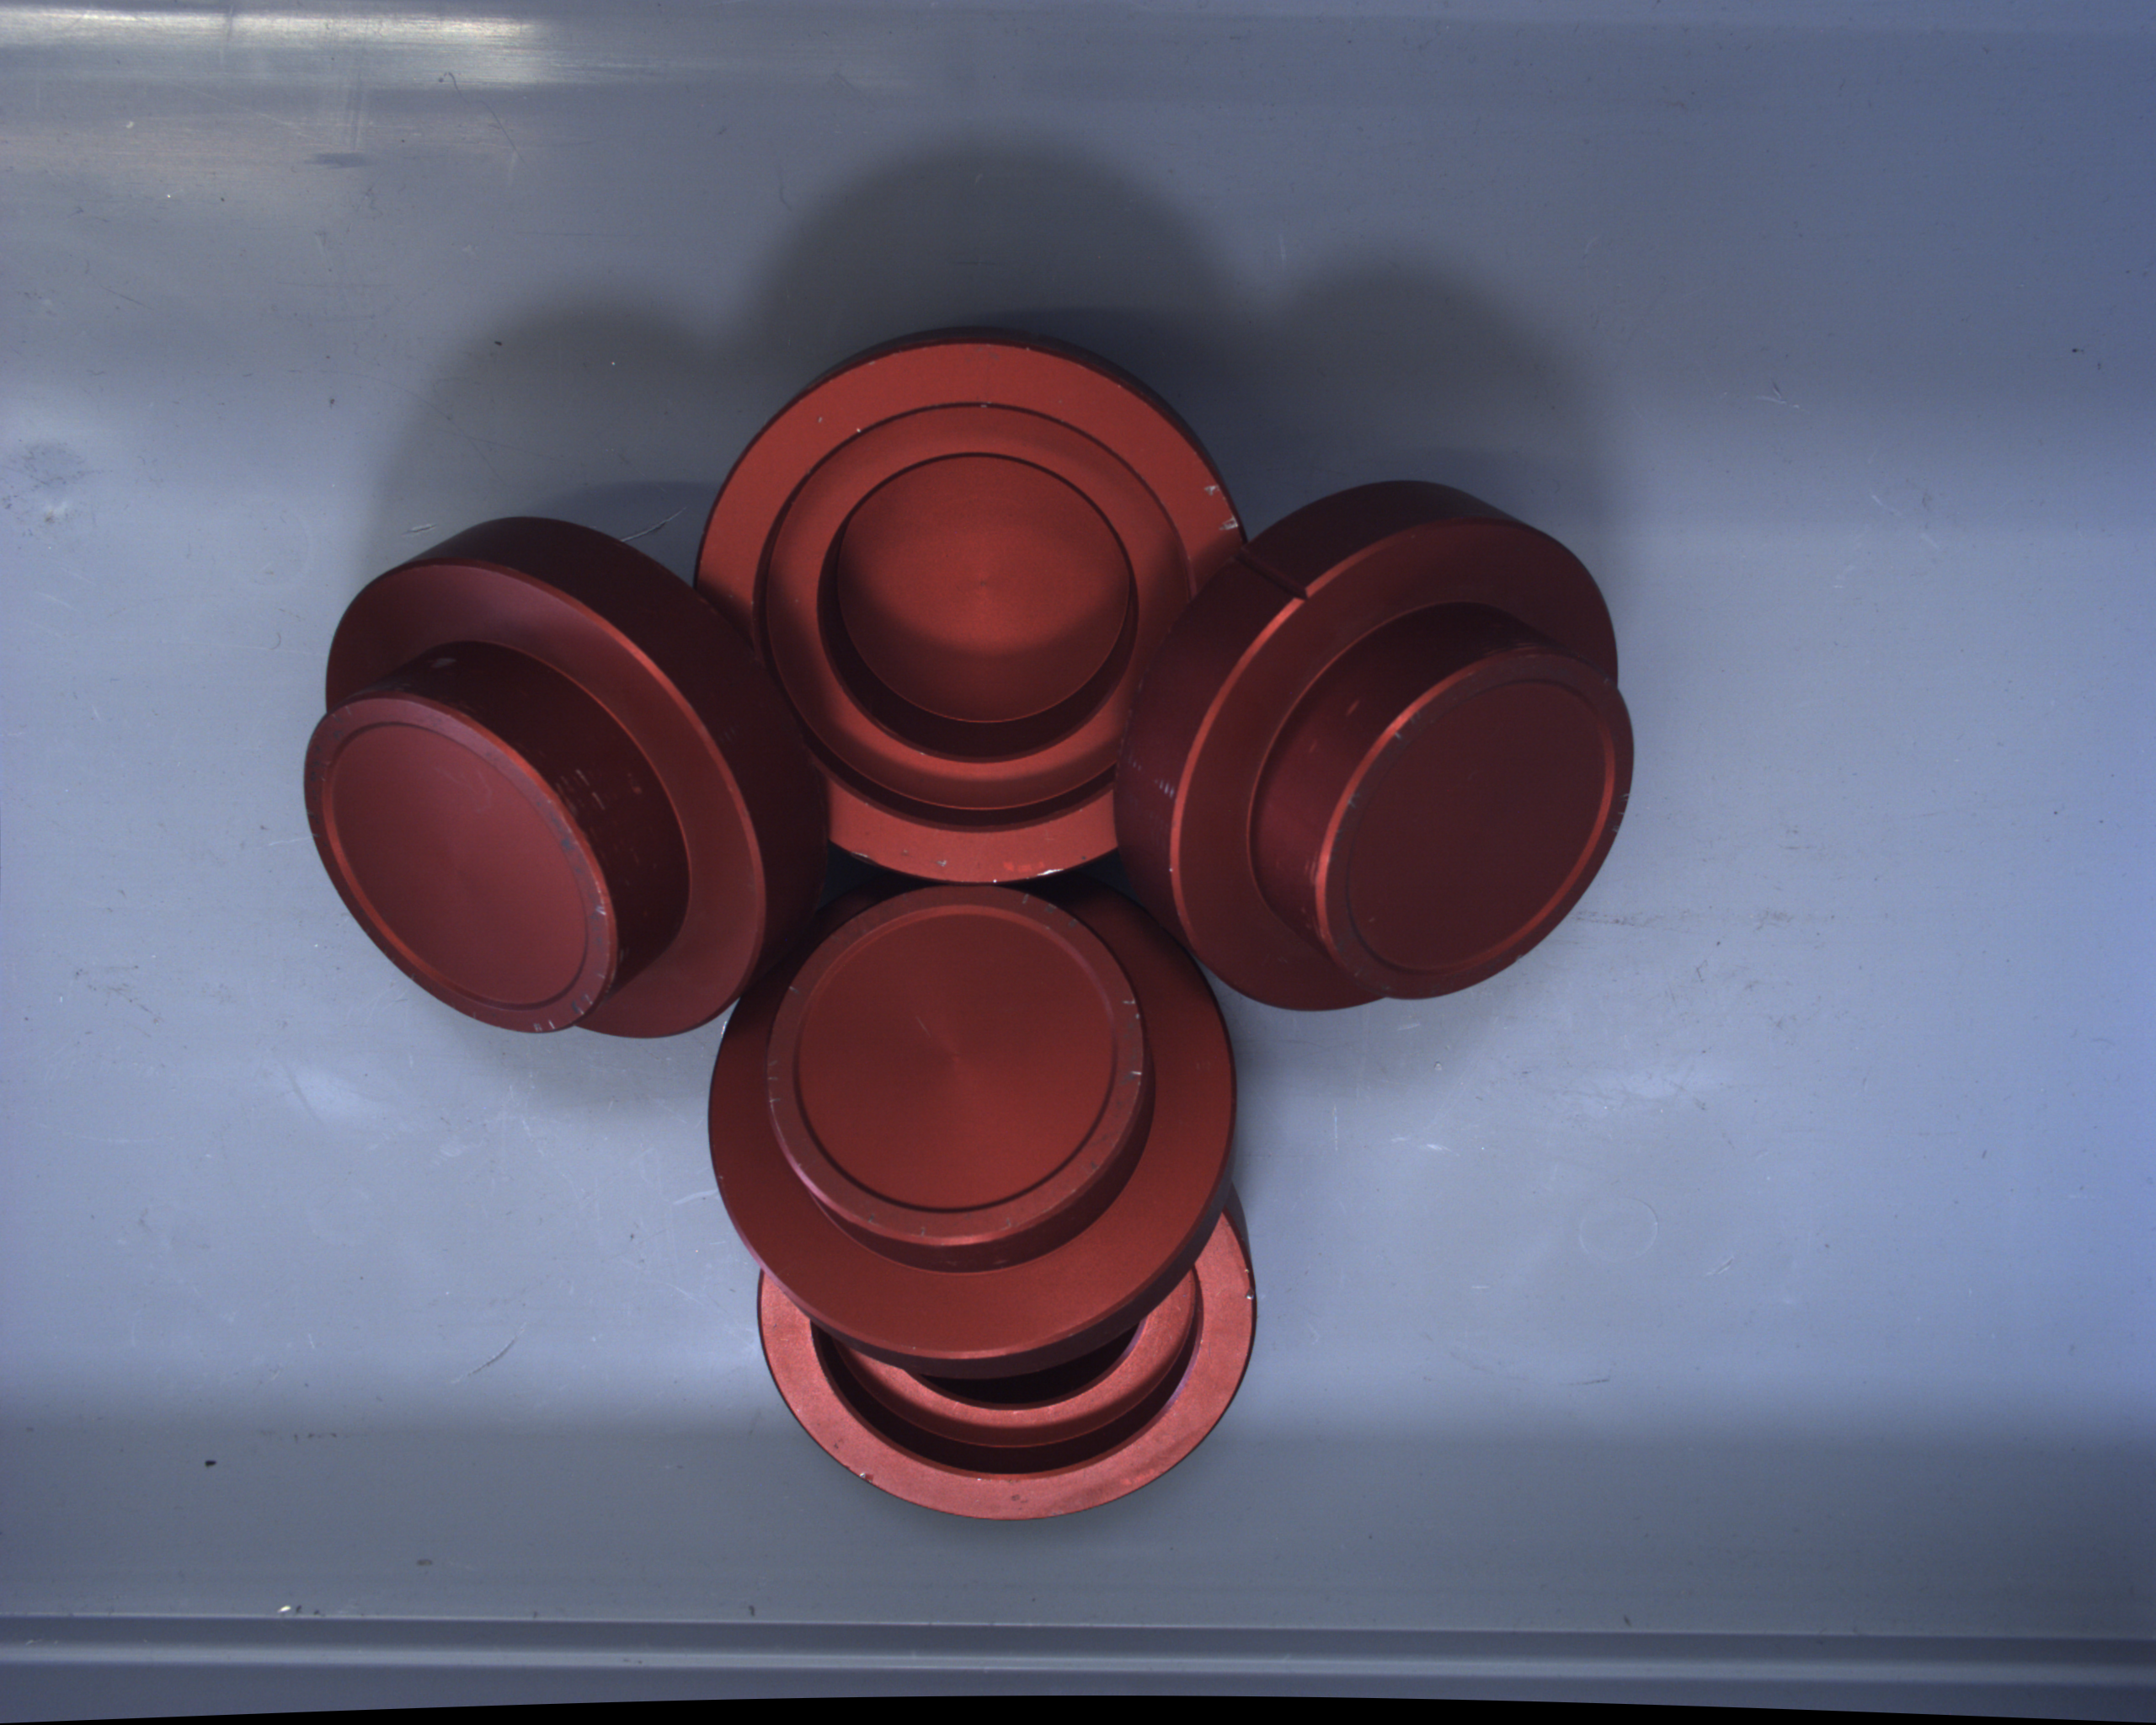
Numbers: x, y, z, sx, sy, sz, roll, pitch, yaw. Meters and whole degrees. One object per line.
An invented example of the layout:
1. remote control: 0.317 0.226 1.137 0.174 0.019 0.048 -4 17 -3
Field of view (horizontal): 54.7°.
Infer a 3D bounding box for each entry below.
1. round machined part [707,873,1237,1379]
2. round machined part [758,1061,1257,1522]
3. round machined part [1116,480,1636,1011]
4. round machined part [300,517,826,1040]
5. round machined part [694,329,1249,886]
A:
1. round machined part: -0.020 0.042 0.385 0.099 0.098 0.042 -6 154 2
2. round machined part: -0.014 0.083 0.430 0.099 0.042 0.097 0 110 0
3. round machined part: 0.059 -0.015 0.371 0.099 0.042 0.097 -17 126 -25
4. round machined part: -0.098 -0.009 0.373 0.098 0.042 0.097 15 126 22
5. round machined part: -0.018 -0.048 0.381 0.099 0.042 0.097 0 110 0
